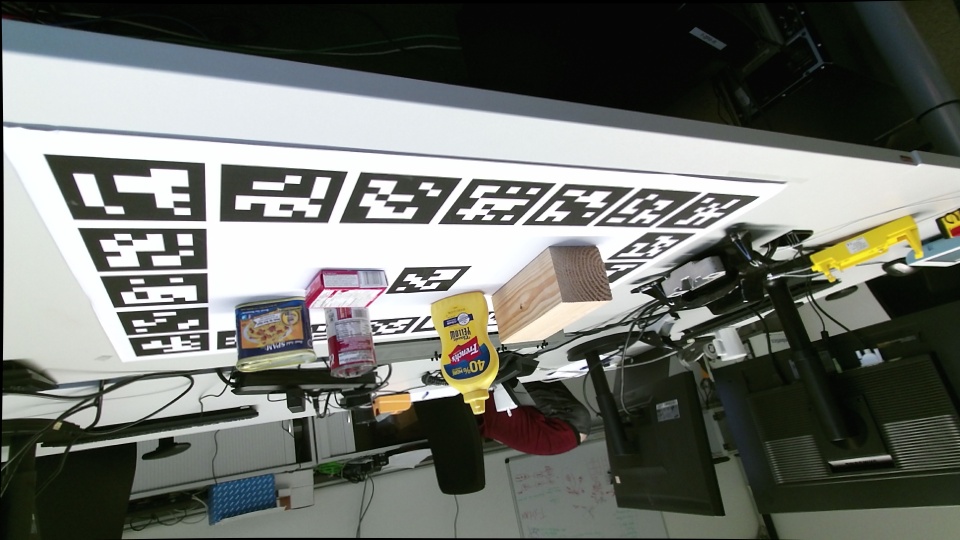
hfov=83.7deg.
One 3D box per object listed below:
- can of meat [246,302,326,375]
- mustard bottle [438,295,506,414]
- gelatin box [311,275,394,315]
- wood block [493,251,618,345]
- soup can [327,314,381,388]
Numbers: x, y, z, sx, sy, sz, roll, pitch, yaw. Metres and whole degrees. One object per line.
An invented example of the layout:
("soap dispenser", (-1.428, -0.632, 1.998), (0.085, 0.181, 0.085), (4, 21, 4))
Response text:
("can of meat", (-0.274, 0.096, 0.757), (0.102, 0.083, 0.058), (-6, 156, -13))
("mustard bottle", (-0.008, 0.140, 0.883), (0.096, 0.190, 0.058), (-11, 159, -2))
("gelatin box", (-0.173, 0.034, 0.723), (0.090, 0.030, 0.073), (1, 152, -37))
("wood block", (0.112, 0.051, 0.858), (0.091, 0.089, 0.206), (0, 159, -27))
("soup can", (-0.192, 0.120, 0.812), (0.068, 0.101, 0.068), (-13, 157, -5))
